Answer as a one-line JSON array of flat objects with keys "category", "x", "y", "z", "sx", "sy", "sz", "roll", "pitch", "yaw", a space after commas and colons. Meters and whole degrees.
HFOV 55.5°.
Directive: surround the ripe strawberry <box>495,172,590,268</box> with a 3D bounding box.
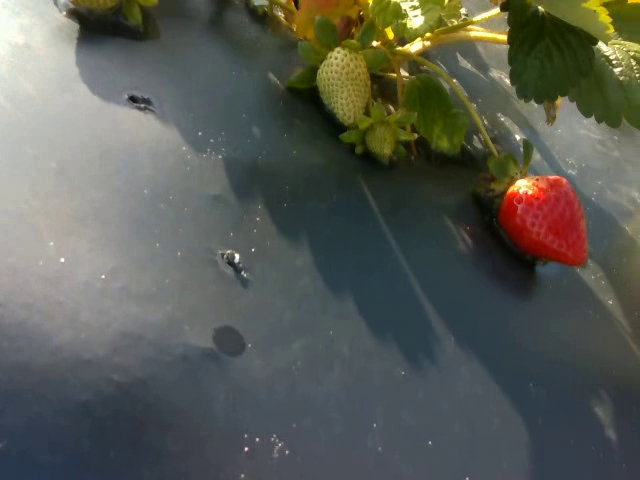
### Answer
[{"category": "ripe strawberry", "x": 0.082, "y": -0.004, "z": 0.212, "sx": 0.030, "sy": 0.045, "sz": 0.033, "roll": -22, "pitch": -34, "yaw": 0}]
